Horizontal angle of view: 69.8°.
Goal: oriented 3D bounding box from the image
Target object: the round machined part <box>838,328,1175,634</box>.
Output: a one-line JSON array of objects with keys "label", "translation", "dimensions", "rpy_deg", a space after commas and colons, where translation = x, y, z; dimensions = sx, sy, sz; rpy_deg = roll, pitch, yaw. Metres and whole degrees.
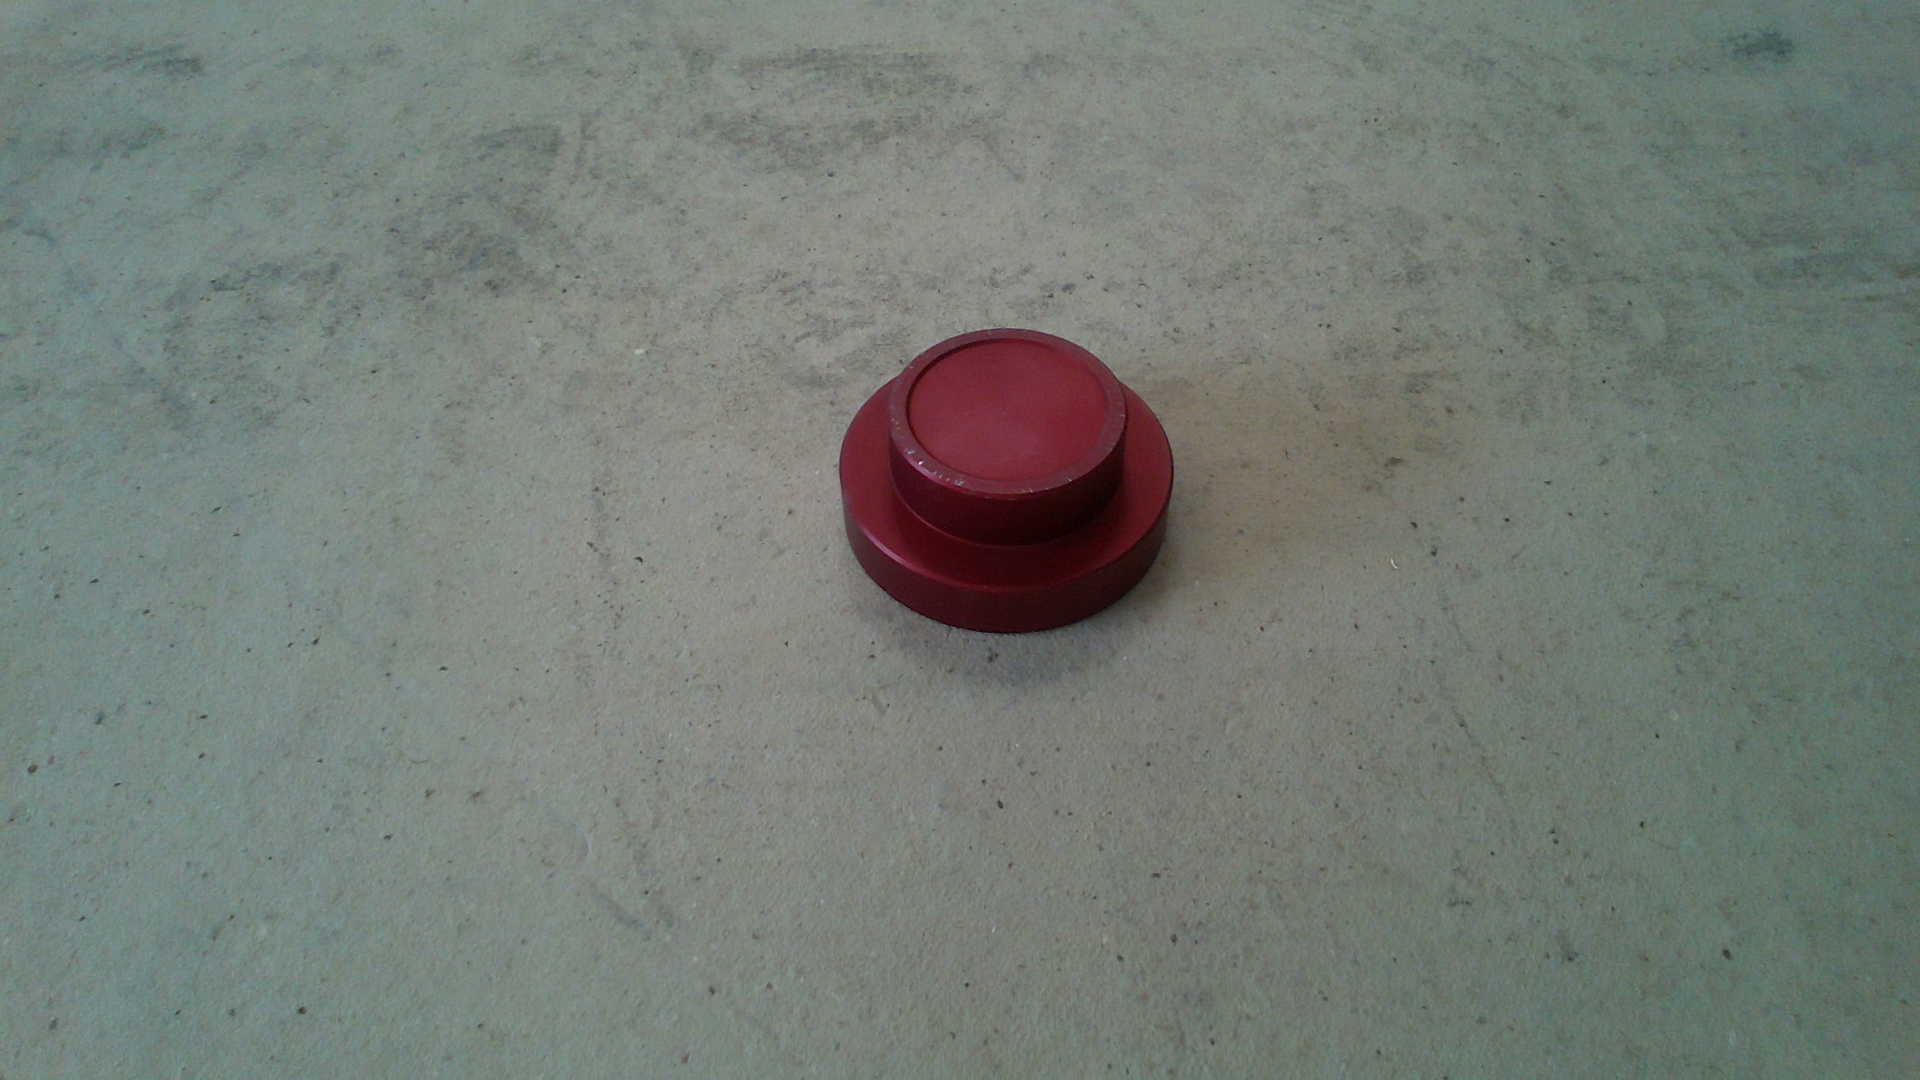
[{"label": "round machined part", "translation": [0.014, -0.024, 0.401], "dimensions": [0.098, 0.042, 0.098], "rpy_deg": [0, 50, 0]}]
